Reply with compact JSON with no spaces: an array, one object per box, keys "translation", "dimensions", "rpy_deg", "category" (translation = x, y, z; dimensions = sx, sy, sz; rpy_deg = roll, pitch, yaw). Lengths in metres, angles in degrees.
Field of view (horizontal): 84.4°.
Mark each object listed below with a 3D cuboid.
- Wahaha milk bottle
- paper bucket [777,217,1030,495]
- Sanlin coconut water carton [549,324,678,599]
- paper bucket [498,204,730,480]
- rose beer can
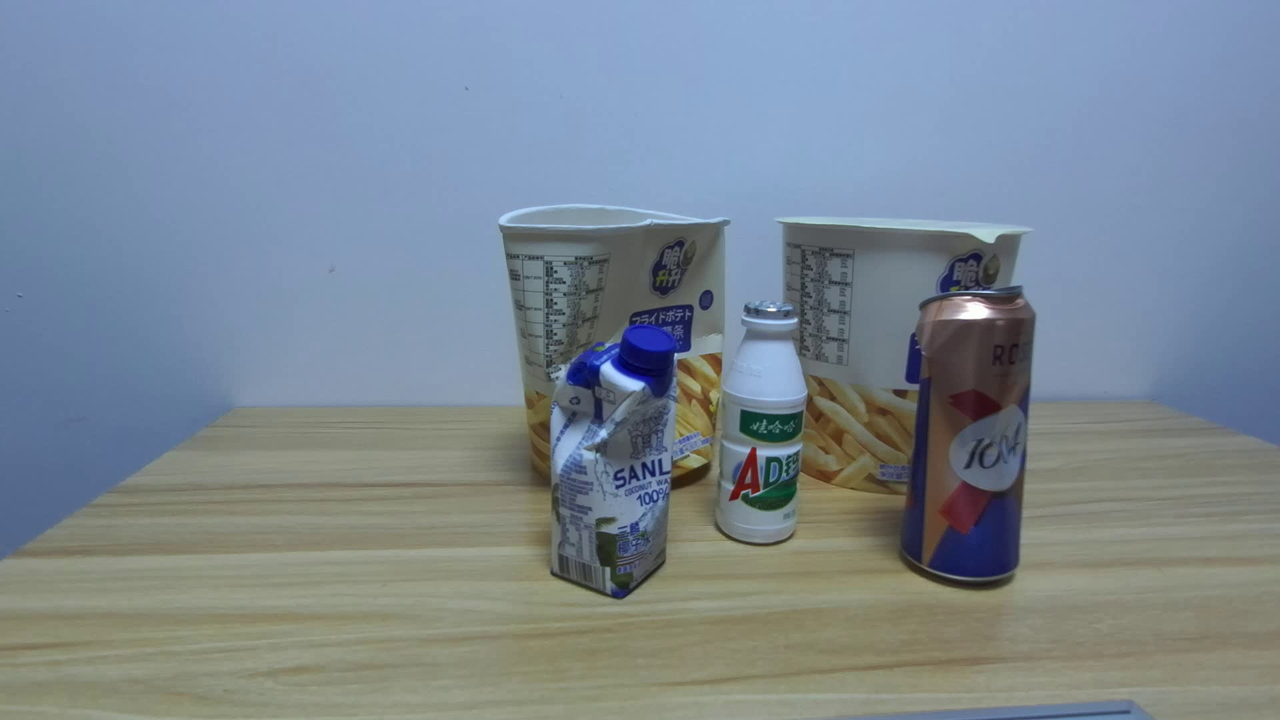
[{"translation":[0.076,0.039,0.441],"dimensions":[0.053,0.147,0.053],"rpy_deg":[3,13,0],"category":"Wahaha milk bottle"},{"translation":[0.196,-0.011,0.564],"dimensions":[0.198,0.194,0.198],"rpy_deg":[1,13,0],"category":"paper bucket"},{"translation":[-0.016,0.051,0.389],"dimensions":[0.069,0.143,0.061],"rpy_deg":[11,17,30],"category":"Sanlin coconut water carton"},{"translation":[-0.009,-0.017,0.552],"dimensions":[0.147,0.199,0.218],"rpy_deg":[4,15,7],"category":"paper bucket"},{"translation":[0.191,0.043,0.407],"dimensions":[0.070,0.168,0.069],"rpy_deg":[1,11,11],"category":"rose beer can"}]
